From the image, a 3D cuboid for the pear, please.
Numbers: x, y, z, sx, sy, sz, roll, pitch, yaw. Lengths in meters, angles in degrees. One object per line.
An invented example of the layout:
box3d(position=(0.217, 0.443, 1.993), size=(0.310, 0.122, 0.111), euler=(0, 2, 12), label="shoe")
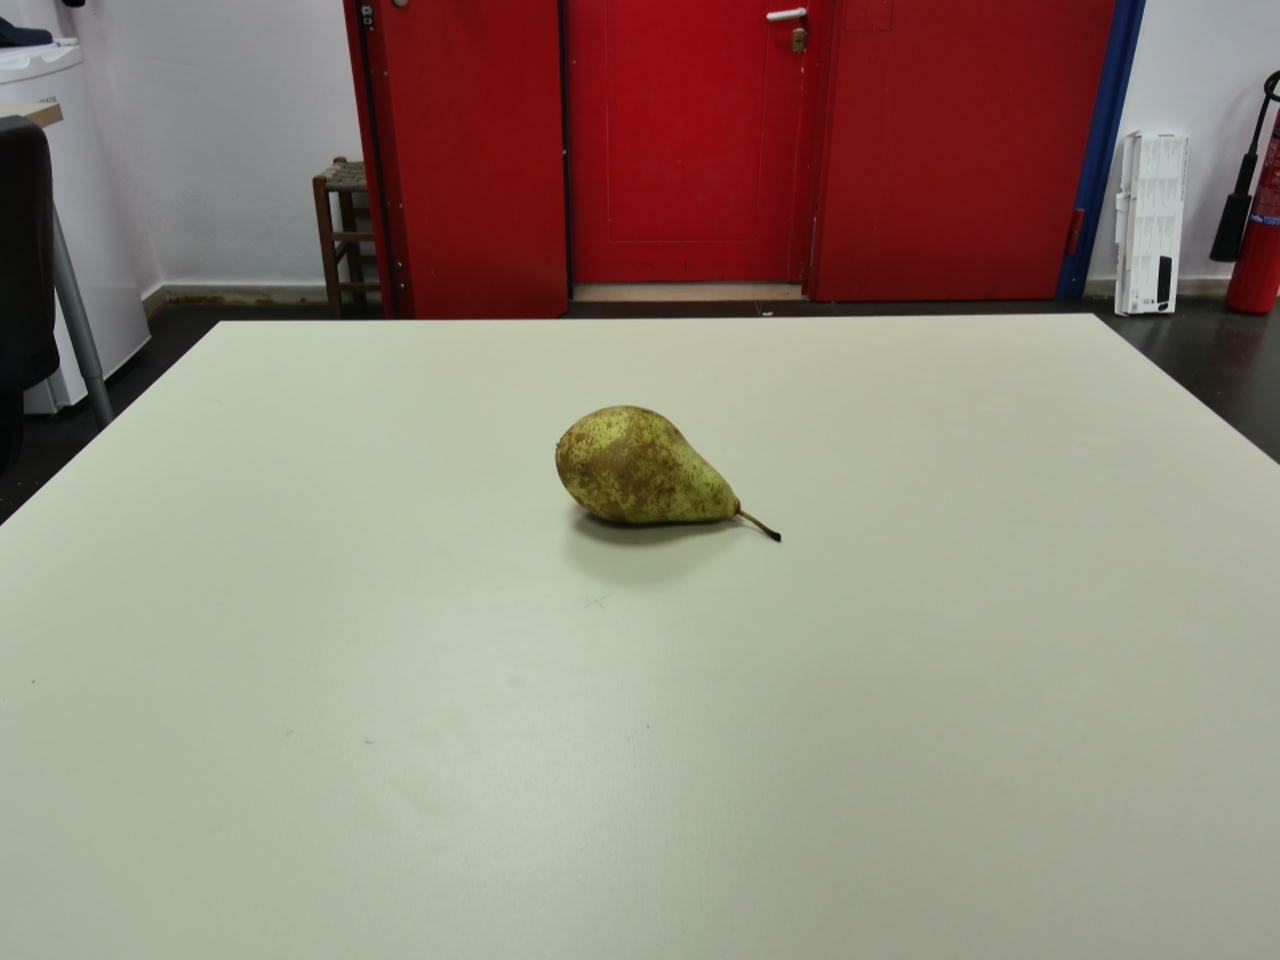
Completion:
box3d(position=(0.014, -0.010, 0.601), size=(0.128, 0.075, 0.071), euler=(-6, 27, -7), label="pear")
